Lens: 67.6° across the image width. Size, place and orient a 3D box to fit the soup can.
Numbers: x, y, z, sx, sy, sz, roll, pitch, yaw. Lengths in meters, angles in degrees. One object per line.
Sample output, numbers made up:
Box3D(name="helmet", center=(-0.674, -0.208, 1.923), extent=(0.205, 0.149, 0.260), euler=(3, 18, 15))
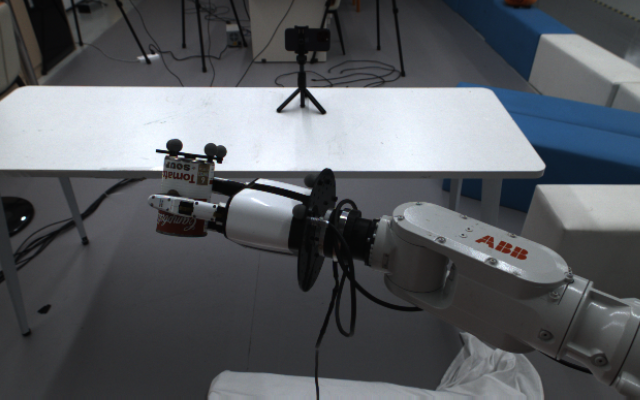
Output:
Box3D(name="soup can", center=(-0.181, -0.003, 0.655), extent=(0.067, 0.101, 0.067), euler=(7, 3, 0))
